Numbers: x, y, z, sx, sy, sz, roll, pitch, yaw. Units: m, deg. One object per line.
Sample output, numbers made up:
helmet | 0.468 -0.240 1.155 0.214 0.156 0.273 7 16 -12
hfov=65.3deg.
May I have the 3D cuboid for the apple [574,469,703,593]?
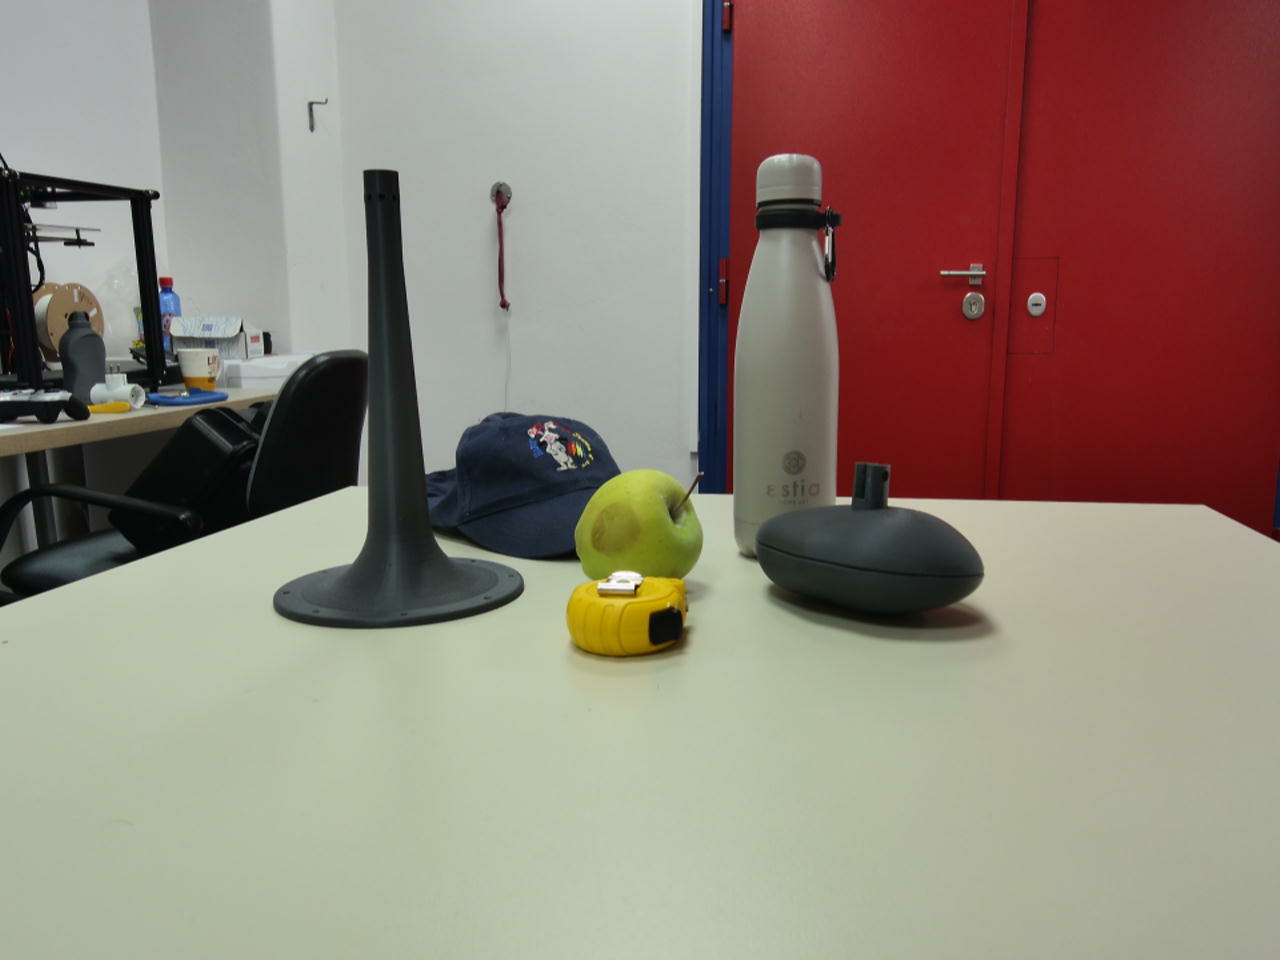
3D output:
apple | 0.000 0.031 0.621 0.072 0.075 0.077 -7 9 -34
